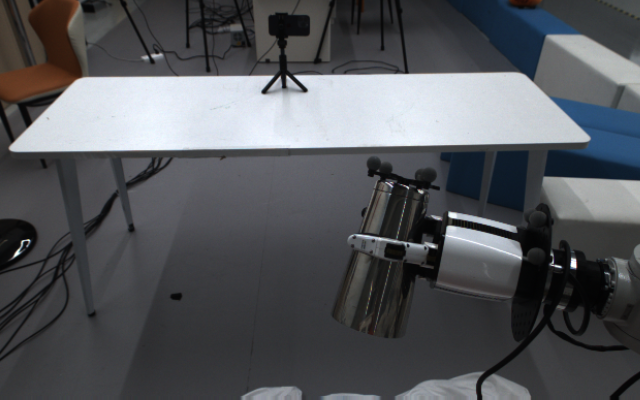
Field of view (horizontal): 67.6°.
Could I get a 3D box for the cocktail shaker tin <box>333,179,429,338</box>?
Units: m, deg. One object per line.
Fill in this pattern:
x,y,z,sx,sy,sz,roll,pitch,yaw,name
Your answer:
0.079,0.066,0.582,0.093,0.170,0.093,14,2,0,cocktail shaker tin
